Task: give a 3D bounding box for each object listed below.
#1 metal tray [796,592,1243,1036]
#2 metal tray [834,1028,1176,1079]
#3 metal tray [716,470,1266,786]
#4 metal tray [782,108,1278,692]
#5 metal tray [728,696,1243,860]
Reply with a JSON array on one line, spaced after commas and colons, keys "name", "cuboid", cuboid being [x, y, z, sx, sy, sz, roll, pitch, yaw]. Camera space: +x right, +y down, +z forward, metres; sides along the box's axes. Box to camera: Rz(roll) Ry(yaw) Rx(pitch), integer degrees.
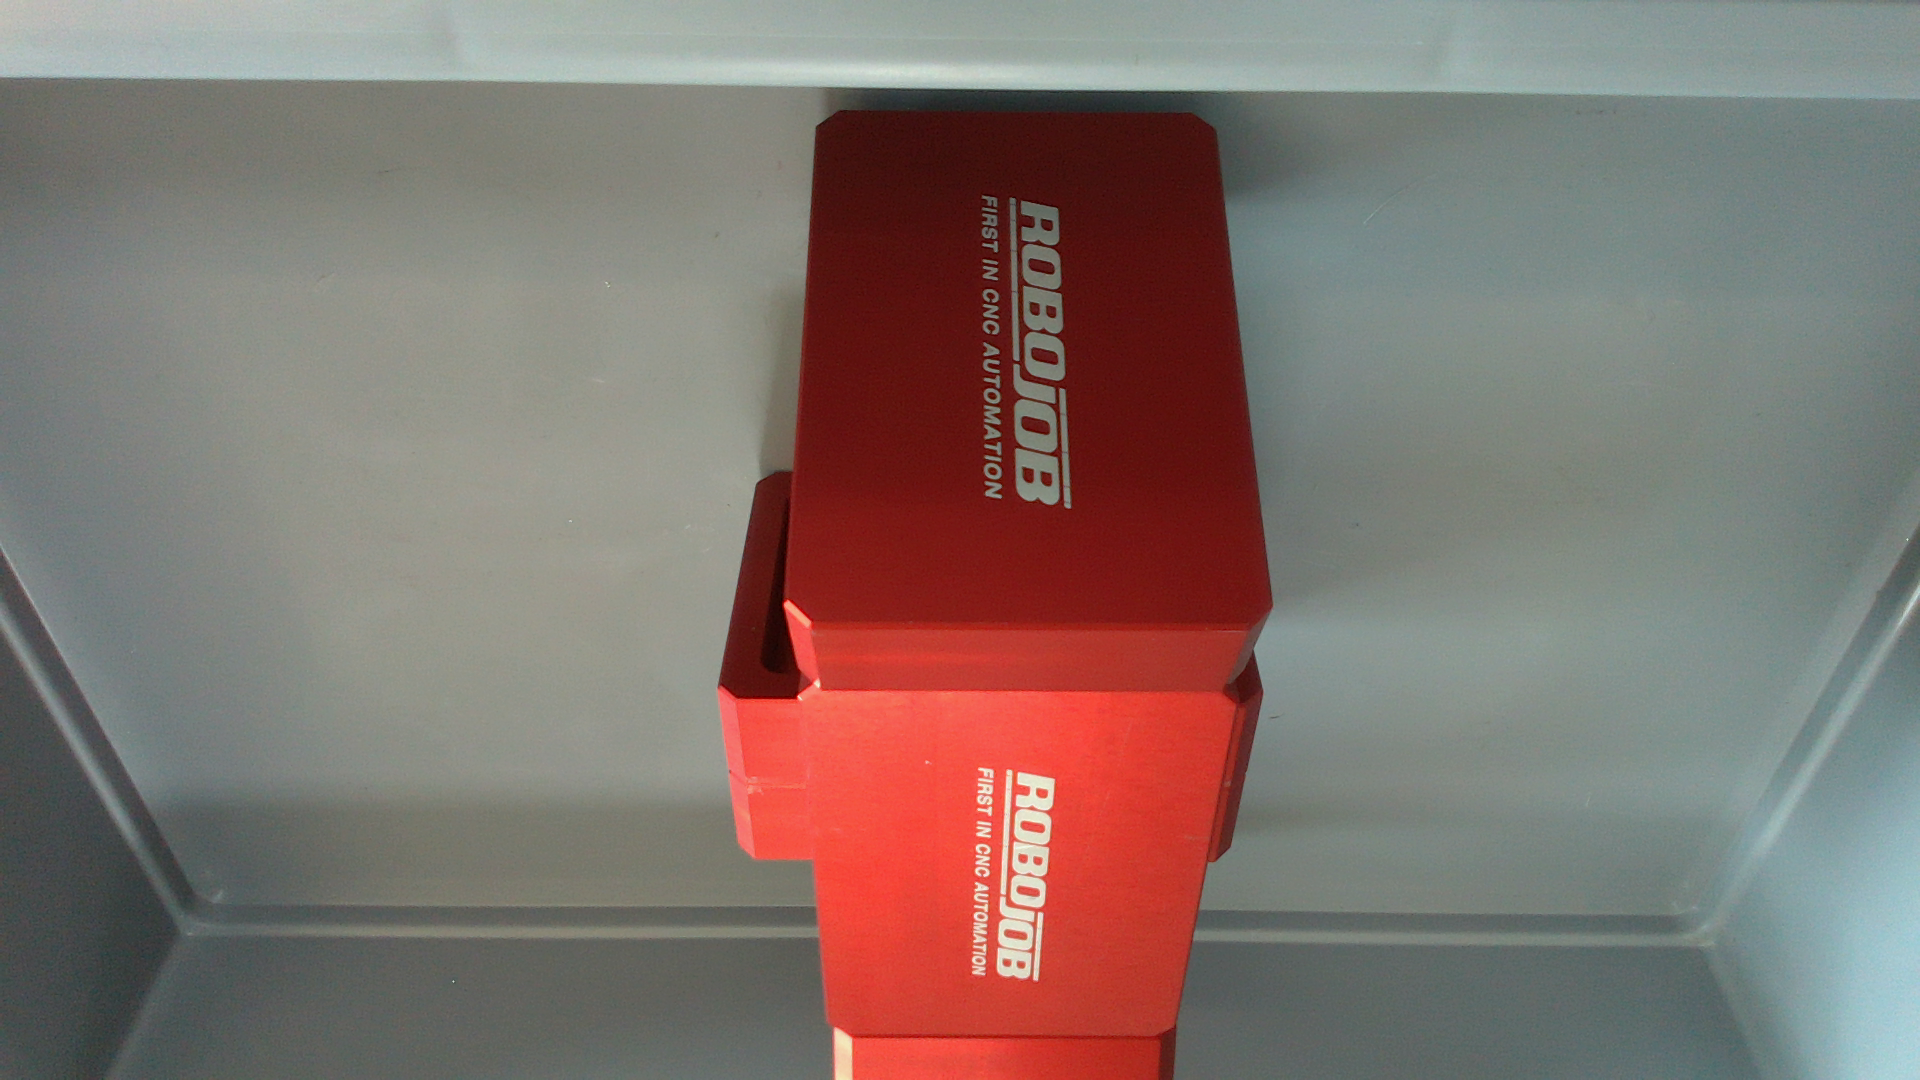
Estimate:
[{"name": "metal tray", "cuboid": [0.011, 0.070, 0.326, 0.090, 0.030, 0.130, 0, 130, -1]}, {"name": "metal tray", "cuboid": [0.011, 0.123, 0.422, 0.090, 0.130, 0.030, 0, 108, -1]}, {"name": "metal tray", "cuboid": [0.007, 0.021, 0.364, 0.130, 0.090, 0.030, 1, 130, -1]}, {"name": "metal tray", "cuboid": [0.013, -0.034, 0.291, 0.090, 0.130, 0.030, 0, 150, -1]}, {"name": "metal tray", "cuboid": [0.007, 0.044, 0.385, 0.130, 0.090, 0.030, 1, 130, -1]}]
